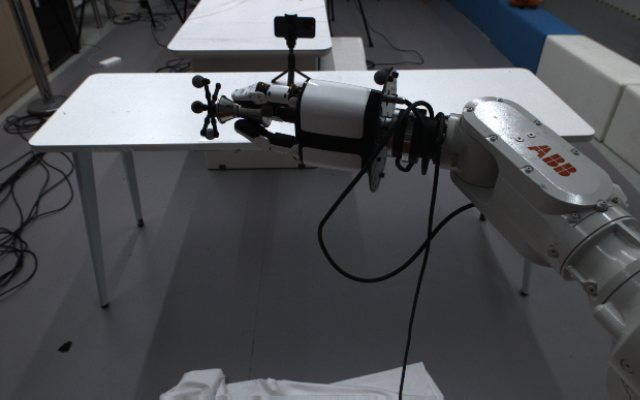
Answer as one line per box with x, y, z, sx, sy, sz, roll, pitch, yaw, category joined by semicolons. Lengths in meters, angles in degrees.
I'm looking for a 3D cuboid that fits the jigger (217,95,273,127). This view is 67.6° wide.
-0.102;-0.129;0.678;0.071;0.043;0.043;4;34;12;jigger
